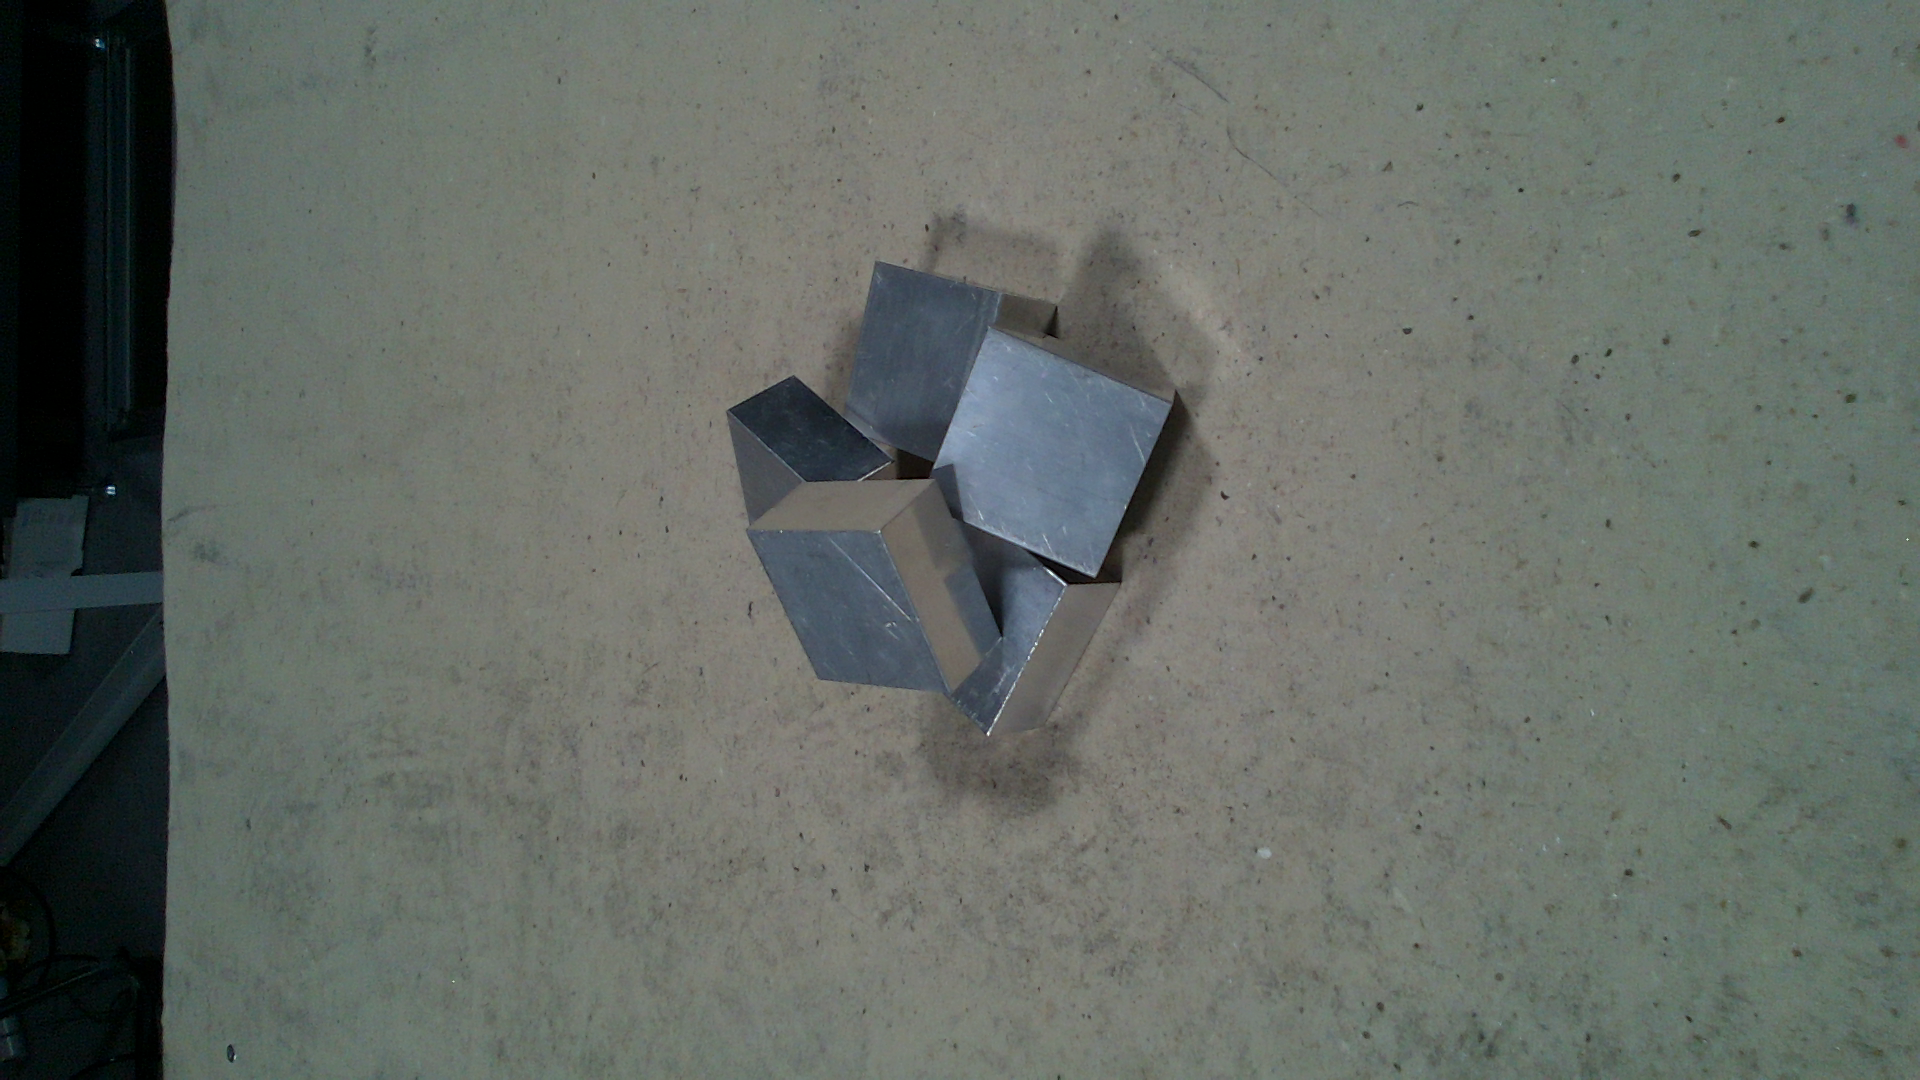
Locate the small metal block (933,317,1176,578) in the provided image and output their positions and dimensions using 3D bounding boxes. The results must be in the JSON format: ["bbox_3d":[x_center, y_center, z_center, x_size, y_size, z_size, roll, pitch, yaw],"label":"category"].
[{"bbox_3d":[0.023,-0.025,0.361,0.050,0.025,0.050,23,107,3],"label":"small metal block"}]

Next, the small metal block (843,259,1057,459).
[{"bbox_3d":[-0.004,-0.050,0.399,0.050,0.025,0.050,22,104,38],"label":"small metal block"}]

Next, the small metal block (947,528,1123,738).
[{"bbox_3d":[0.010,0.019,0.387,0.050,0.025,0.050,40,114,33],"label":"small metal block"}]

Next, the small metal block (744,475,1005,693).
[{"bbox_3d":[-0.023,0.011,0.366,0.050,0.025,0.050,0,123,40],"label":"small metal block"}]

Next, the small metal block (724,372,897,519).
[{"bbox_3d":[-0.043,-0.014,0.416,0.050,0.025,0.050,40,151,32],"label":"small metal block"}]
